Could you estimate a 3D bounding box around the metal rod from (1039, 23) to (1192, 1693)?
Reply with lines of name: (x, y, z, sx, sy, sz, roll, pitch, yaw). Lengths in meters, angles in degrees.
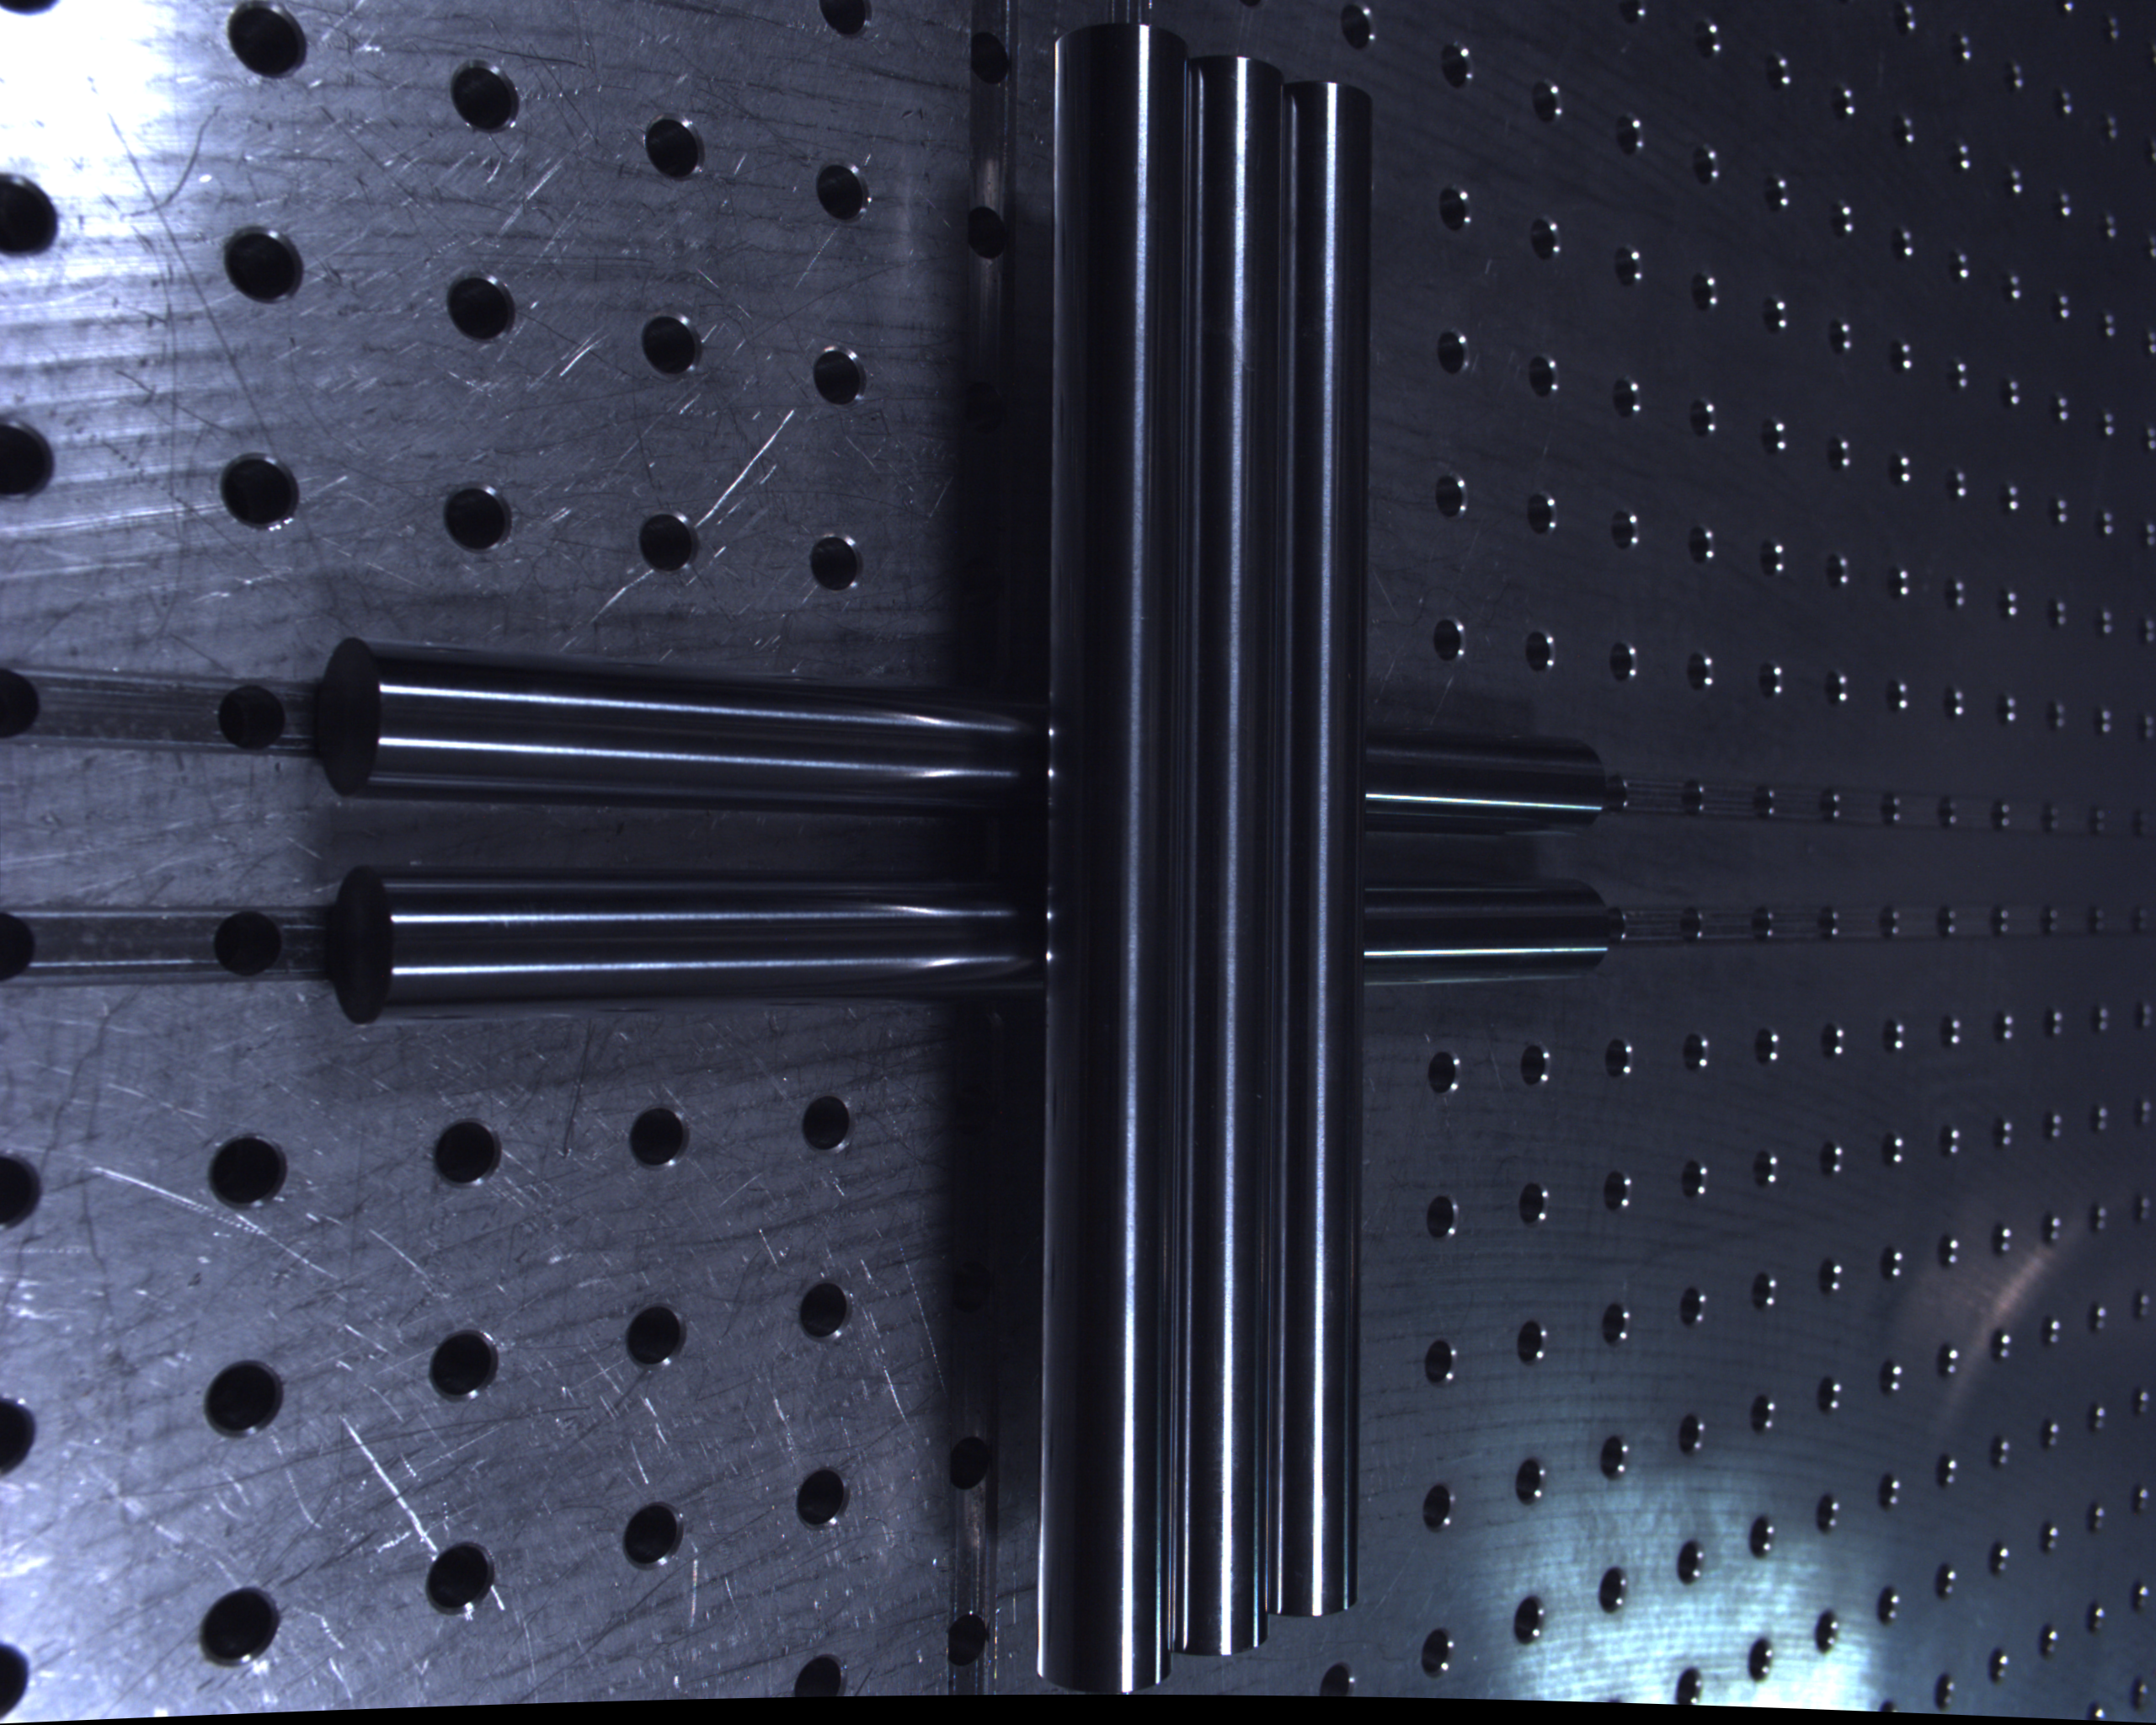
metal rod: (0.007, -0.001, 0.385, 0.025, 0.025, 0.298, 1, 90, -40)

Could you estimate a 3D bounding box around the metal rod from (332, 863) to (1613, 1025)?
metal rod: (0.006, 0.014, 0.417, 0.302, 0.025, 0.025, 1, 90, -40)

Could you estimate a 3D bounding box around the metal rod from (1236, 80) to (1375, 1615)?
metal rod: (0.045, -0.003, 0.417, 0.025, 0.025, 0.298, 1, 90, -40)

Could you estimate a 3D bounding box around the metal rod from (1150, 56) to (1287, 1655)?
metal rod: (0.026, -0.002, 0.401, 0.025, 0.025, 0.298, 1, 90, -40)

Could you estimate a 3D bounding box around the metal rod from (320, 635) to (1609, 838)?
metal rod: (0.005, -0.020, 0.415, 0.302, 0.025, 0.025, 1, 90, -40)
